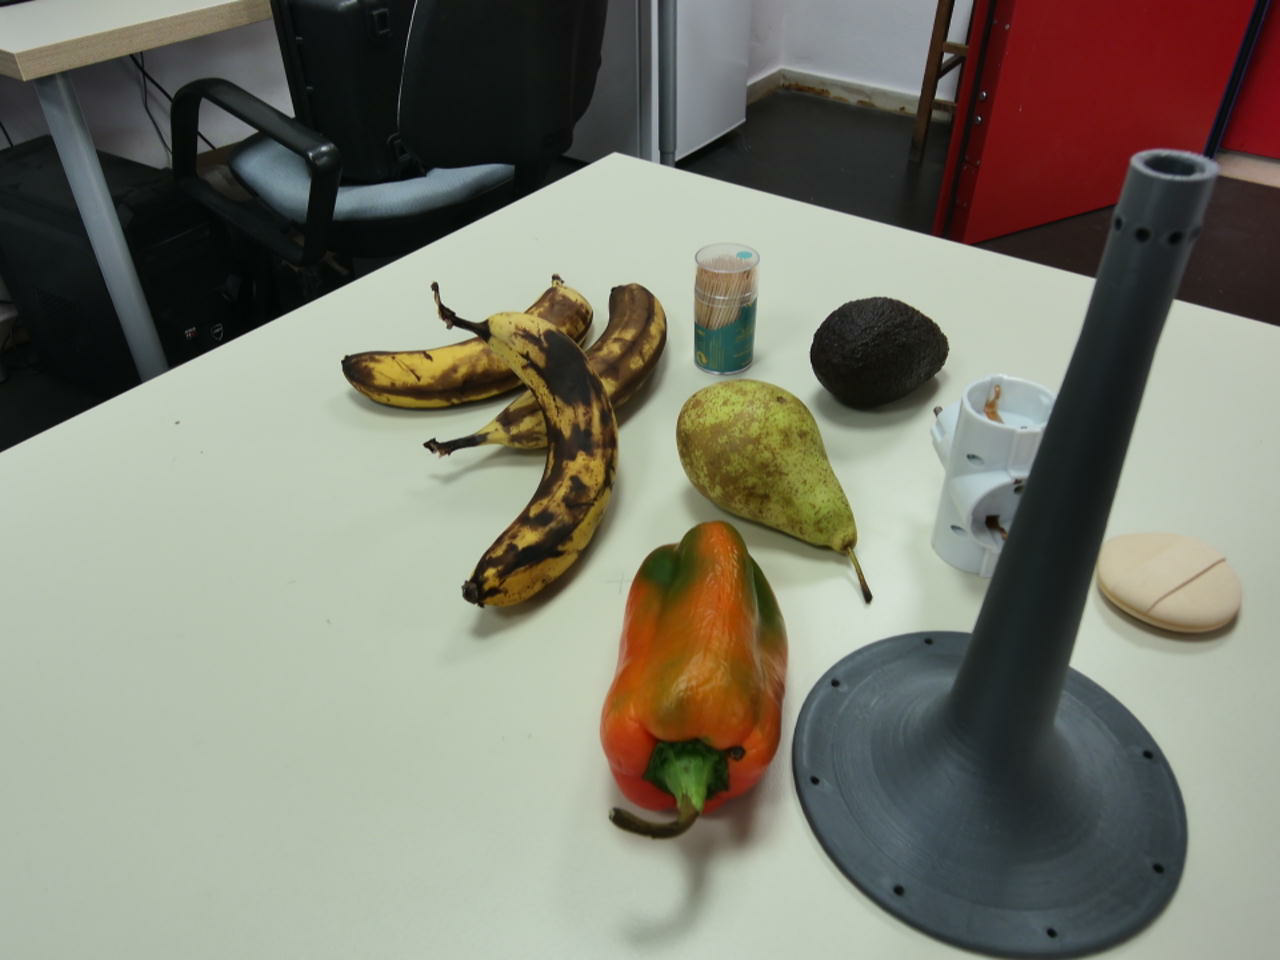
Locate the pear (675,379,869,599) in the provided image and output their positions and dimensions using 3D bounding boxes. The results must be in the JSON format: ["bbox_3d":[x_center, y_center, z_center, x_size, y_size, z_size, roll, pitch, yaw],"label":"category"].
[{"bbox_3d":[0.077,-0.009,0.521,0.128,0.075,0.071,21,41,23],"label":"pear"}]
